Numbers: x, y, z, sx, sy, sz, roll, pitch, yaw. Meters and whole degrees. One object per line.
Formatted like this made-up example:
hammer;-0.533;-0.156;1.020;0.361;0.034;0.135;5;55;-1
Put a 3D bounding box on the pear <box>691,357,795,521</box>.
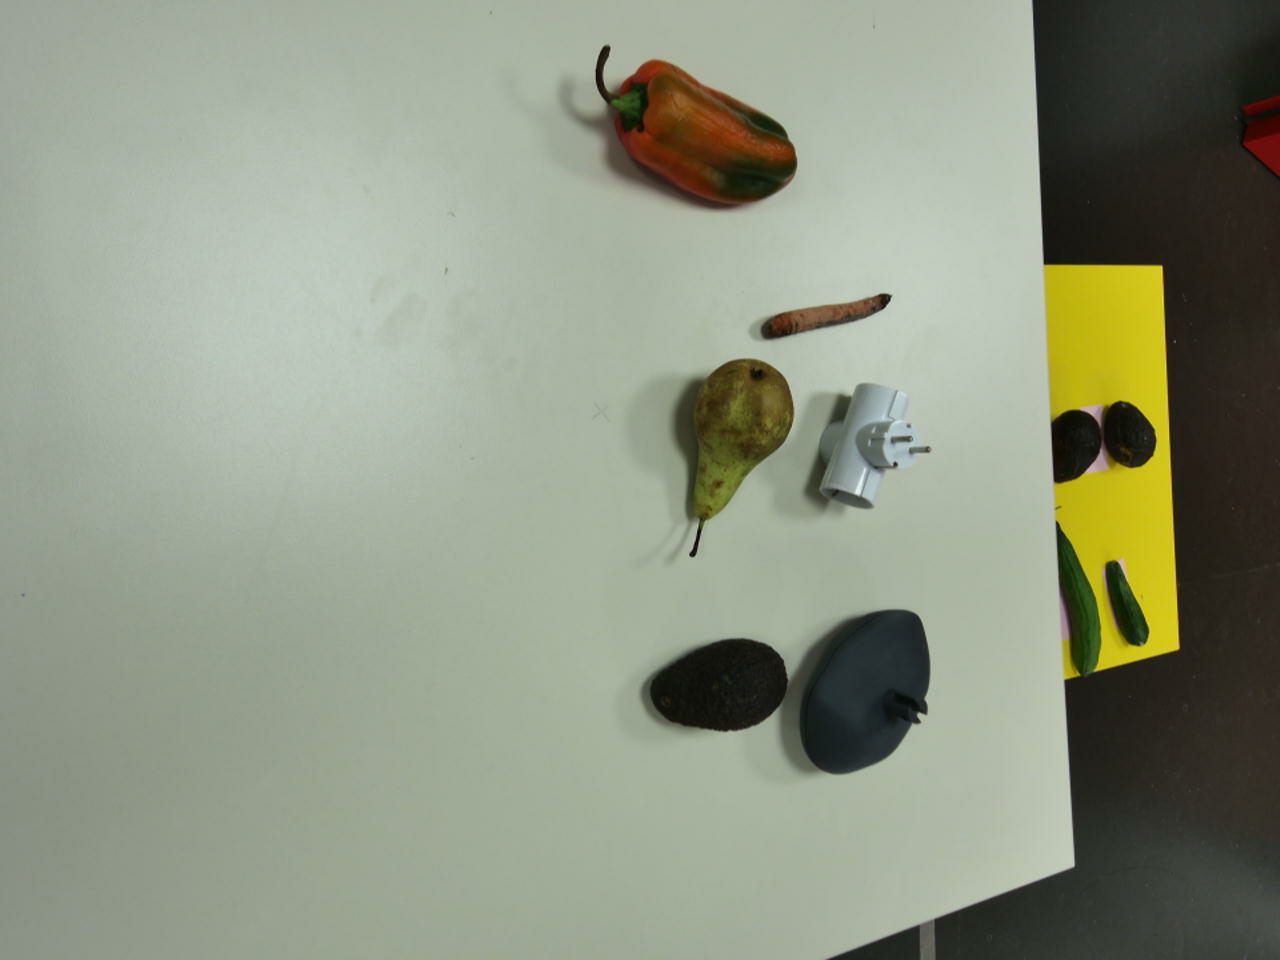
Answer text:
pear;0.074;-0.017;0.731;0.071;0.075;0.144;5;89;-28
